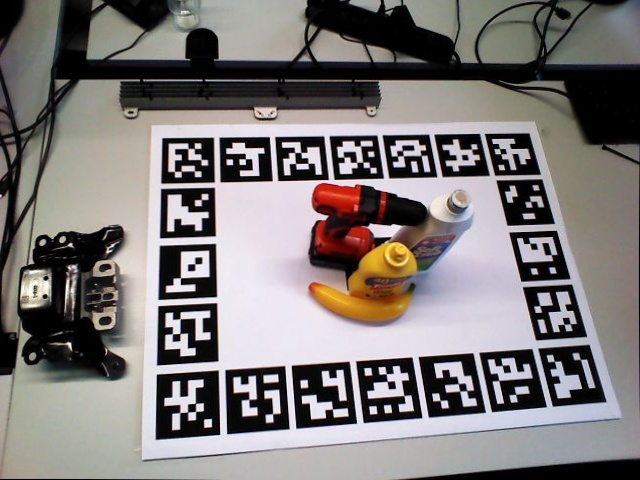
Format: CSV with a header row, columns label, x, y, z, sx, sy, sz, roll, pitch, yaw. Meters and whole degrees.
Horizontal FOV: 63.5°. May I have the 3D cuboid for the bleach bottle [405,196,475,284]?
label,x,y,z,sx,sy,sz,roll,pitch,yaw
bleach bottle,0.212,-0.003,0.851,0.103,0.252,0.067,1,63,-7

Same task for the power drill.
label,x,y,z,sx,sy,sz,roll,pitch,yaw
power drill,0.100,-0.011,0.845,0.185,0.188,0.057,10,67,-5

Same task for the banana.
label,x,y,z,sx,sy,sz,roll,pitch,yaw
banana,0.115,0.120,0.910,0.197,0.039,0.074,2,70,-4

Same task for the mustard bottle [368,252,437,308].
label,x,y,z,sx,sy,sz,roll,pitch,yaw
mustard bottle,0.143,0.061,0.844,0.096,0.192,0.058,-1,69,-9
